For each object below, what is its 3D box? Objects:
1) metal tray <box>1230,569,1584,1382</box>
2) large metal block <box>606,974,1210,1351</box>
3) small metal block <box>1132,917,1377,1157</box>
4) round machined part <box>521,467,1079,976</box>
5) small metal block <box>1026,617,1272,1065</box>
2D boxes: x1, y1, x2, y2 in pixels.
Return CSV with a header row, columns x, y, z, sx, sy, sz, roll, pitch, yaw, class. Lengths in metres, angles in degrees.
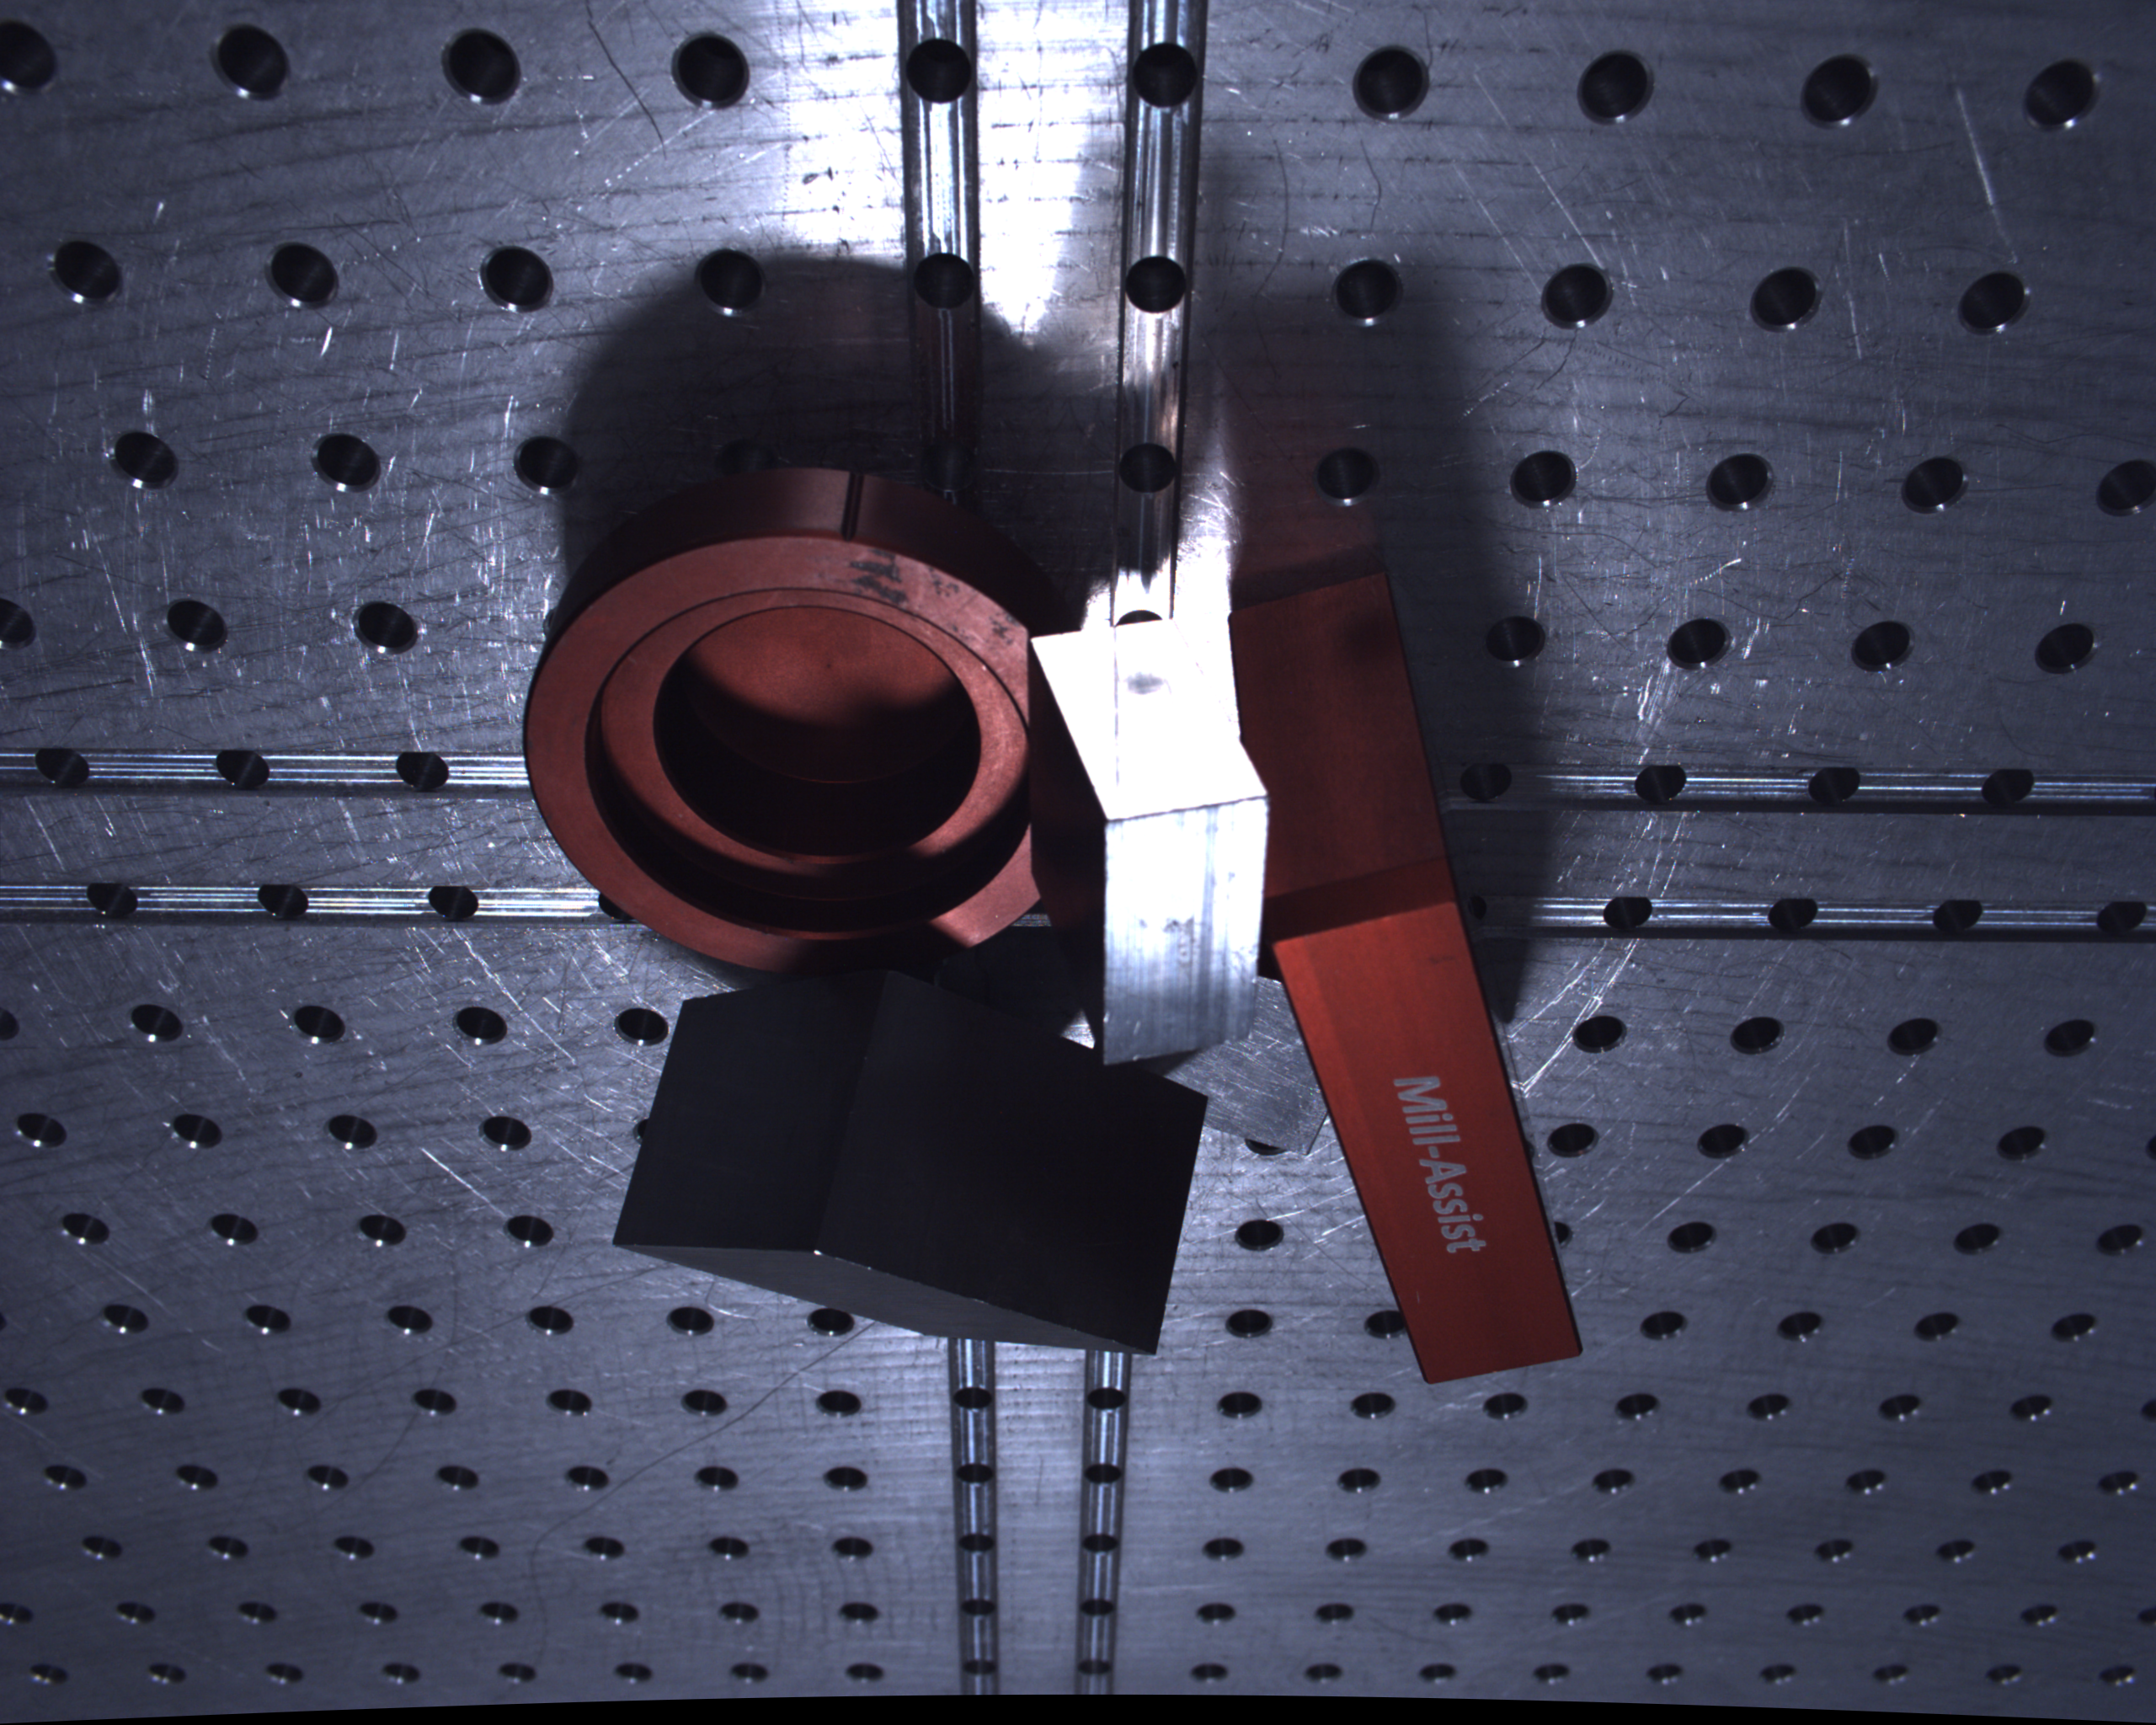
x,y,z,sx,sy,sz,roll,pitch,yaw,class
0.062,0.023,0.389,0.030,0.090,0.129,-14,129,11,metal tray
-0.034,0.062,0.417,0.080,0.050,0.080,25,159,-33,large metal block
0.032,0.029,0.431,0.050,0.025,0.050,16,134,0,small metal block
-0.046,-0.029,0.375,0.099,0.042,0.097,-1,130,0,round machined part
0.010,-0.004,0.338,0.025,0.050,0.050,-9,130,-11,small metal block
